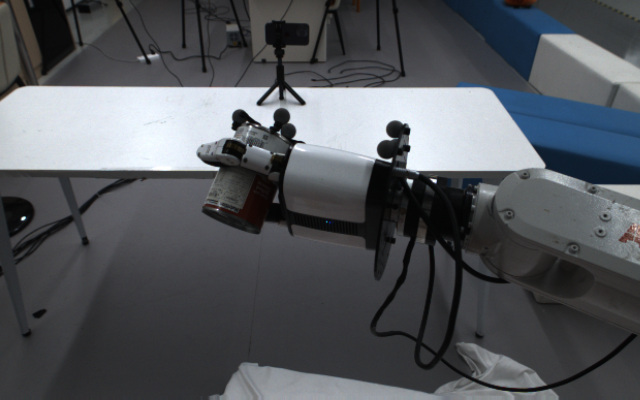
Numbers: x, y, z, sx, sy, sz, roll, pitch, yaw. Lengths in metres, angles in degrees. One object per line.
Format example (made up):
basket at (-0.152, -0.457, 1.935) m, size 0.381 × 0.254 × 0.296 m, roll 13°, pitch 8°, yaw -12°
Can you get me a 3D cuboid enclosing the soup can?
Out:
soup can at (-0.076, -0.024, 0.522) m, size 0.067 × 0.067 × 0.101 m, roll 16°, pitch 74°, yaw 19°
